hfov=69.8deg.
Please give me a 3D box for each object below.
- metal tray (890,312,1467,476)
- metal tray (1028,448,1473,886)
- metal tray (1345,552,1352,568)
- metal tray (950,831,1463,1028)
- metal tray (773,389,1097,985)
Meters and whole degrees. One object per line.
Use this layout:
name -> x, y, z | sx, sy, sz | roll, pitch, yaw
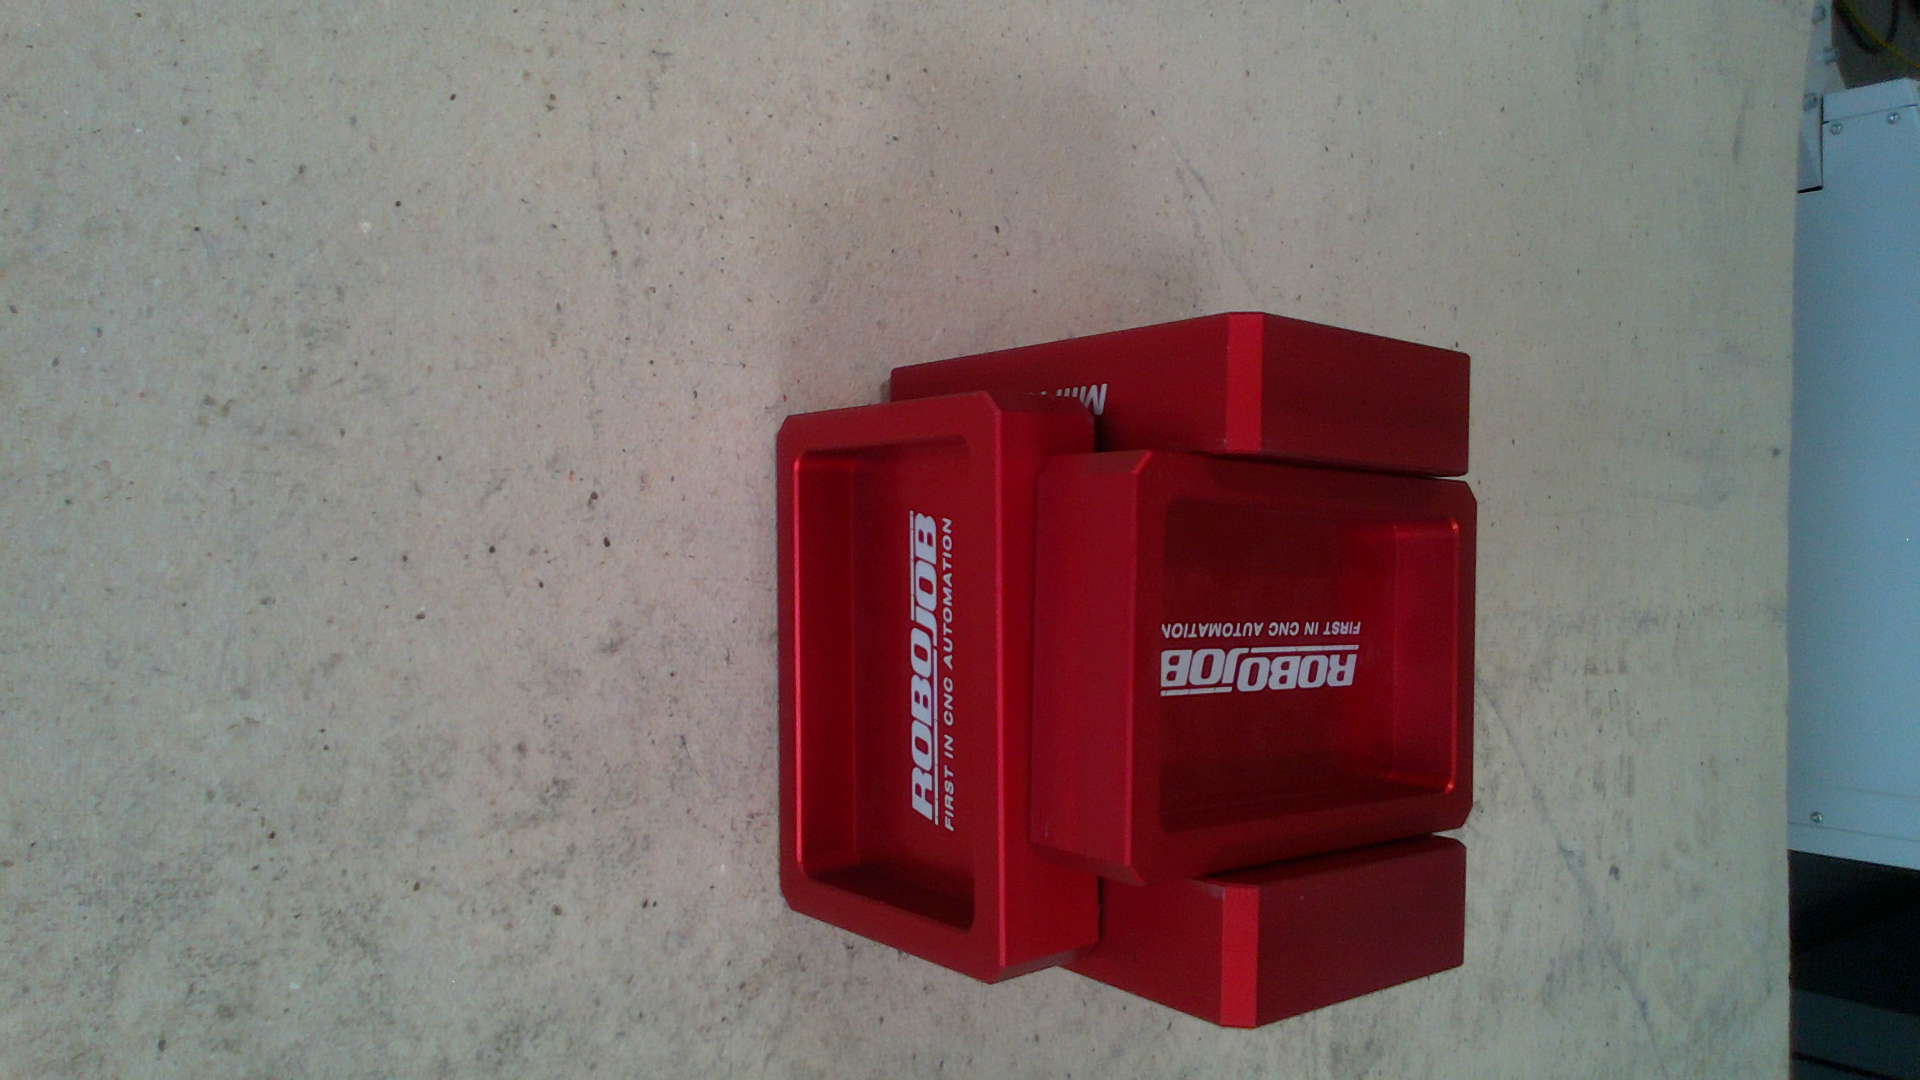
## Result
metal tray -> 0.053, -0.032, 0.365 | 0.090, 0.129, 0.030 | 2, 88, -40
metal tray -> 0.075, 0.028, 0.332 | 0.131, 0.030, 0.090 | 2, 89, -40
metal tray -> 0.090, 0.027, 0.422 | 0.030, 0.090, 0.130 | 2, 88, -39
metal tray -> 0.052, 0.088, 0.364 | 0.090, 0.129, 0.030 | 2, 89, -40
metal tray -> -0.009, 0.032, 0.339 | 0.030, 0.090, 0.130 | -1, 90, -40
